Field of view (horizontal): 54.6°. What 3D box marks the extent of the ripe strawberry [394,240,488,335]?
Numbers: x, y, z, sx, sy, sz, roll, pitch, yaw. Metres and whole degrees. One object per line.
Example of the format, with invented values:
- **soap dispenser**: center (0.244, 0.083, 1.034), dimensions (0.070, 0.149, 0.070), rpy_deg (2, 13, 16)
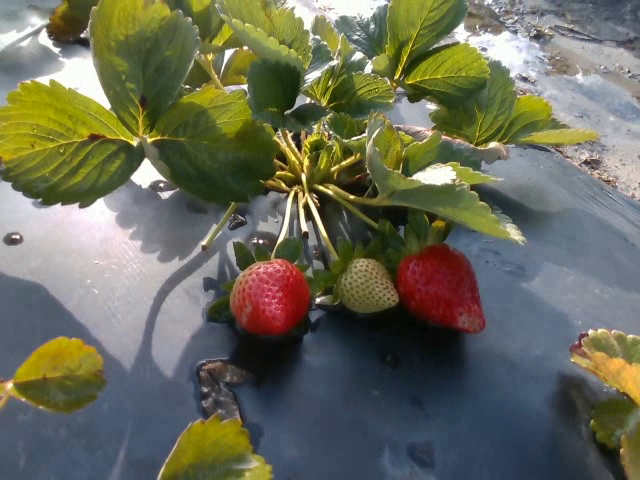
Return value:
- **ripe strawberry**: center (0.068, 0.029, 0.328), dimensions (0.048, 0.065, 0.050), rpy_deg (-36, -34, 11)
